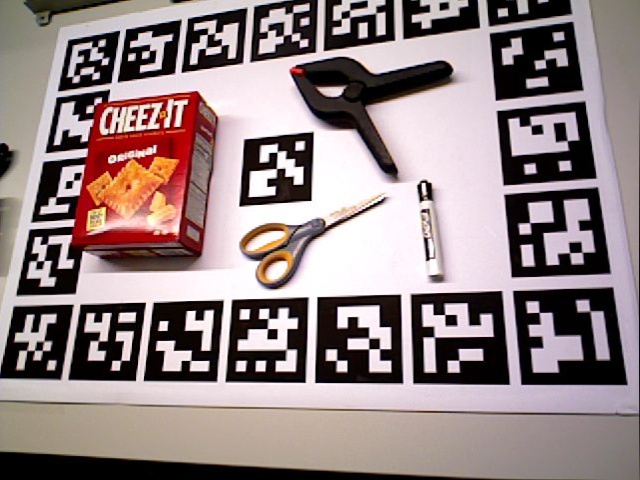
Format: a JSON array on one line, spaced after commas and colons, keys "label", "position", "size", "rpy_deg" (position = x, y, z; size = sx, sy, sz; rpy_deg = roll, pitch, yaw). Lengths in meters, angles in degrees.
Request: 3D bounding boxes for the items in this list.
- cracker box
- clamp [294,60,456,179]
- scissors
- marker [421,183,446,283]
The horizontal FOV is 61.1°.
[{"label": "cracker box", "position": [-0.234, -0.081, 0.734], "size": [0.165, 0.072, 0.212], "rpy_deg": [-2, 71, 16]}, {"label": "clamp", "position": [0.051, -0.185, 0.719], "size": [0.203, 0.037, 0.164], "rpy_deg": [28, 80, 22]}, {"label": "scissors", "position": [-0.006, -0.007, 0.670], "size": [0.203, 0.016, 0.087], "rpy_deg": [-30, 65, 3]}, {"label": "marker", "position": [0.131, -0.010, 0.630], "size": [0.020, 0.020, 0.120], "rpy_deg": [-6, 70, 14]}]
